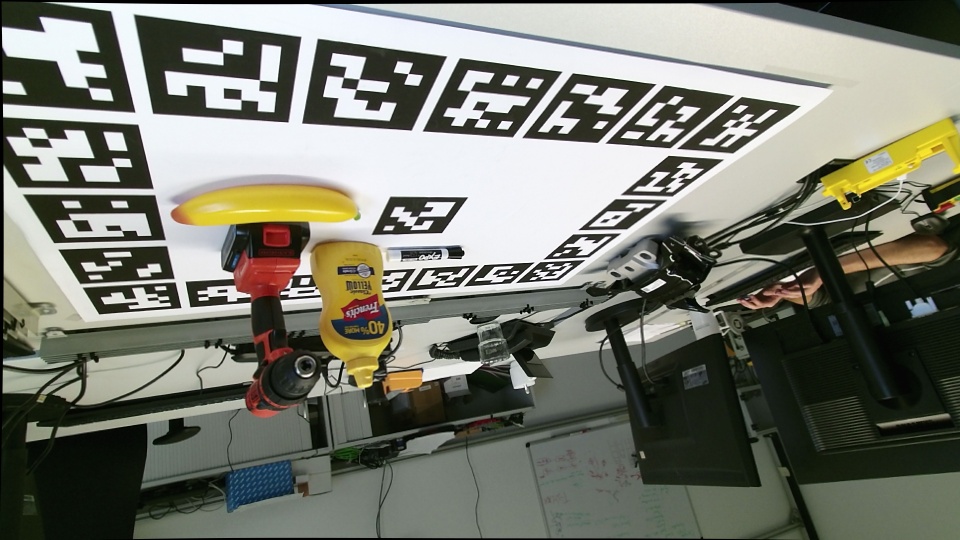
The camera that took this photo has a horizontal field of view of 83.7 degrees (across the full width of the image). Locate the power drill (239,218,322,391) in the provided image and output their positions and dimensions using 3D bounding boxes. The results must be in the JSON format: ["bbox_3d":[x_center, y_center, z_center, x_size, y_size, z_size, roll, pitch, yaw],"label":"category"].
[{"bbox_3d":[-0.236,0.037,0.621,0.057,0.186,0.185,5,153,-38],"label":"power drill"}]

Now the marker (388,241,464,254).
[{"bbox_3d":[-0.080,-0.035,0.821,0.121,0.019,0.019,-3,154,-28],"label":"marker"}]

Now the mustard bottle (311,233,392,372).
[{"bbox_3d":[-0.169,0.044,0.726,0.096,0.190,0.058,3,152,-36],"label":"mustard bottle"}]

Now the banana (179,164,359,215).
[{"bbox_3d":[-0.216,-0.087,0.588,0.198,0.038,0.074,-1,153,-34],"label":"banana"}]
